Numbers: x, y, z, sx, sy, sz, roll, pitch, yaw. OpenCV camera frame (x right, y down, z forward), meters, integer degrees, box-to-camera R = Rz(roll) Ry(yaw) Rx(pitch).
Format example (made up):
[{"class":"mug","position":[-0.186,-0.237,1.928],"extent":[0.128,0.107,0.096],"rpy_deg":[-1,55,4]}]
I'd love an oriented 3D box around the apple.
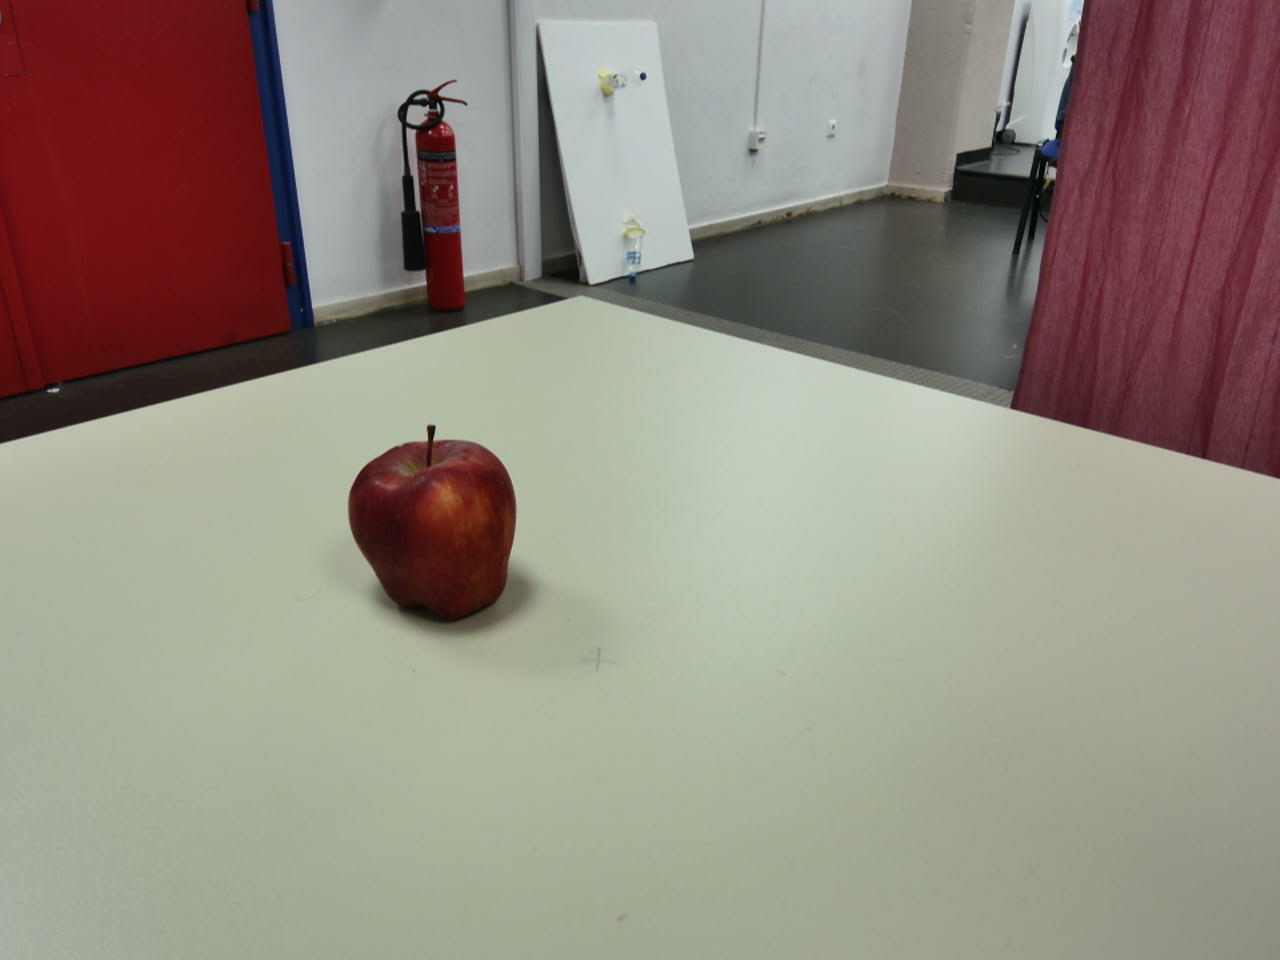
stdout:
[{"class":"apple","position":[-0.099,0.017,0.483],"extent":[0.083,0.090,0.083],"rpy_deg":[1,24,-1]}]
